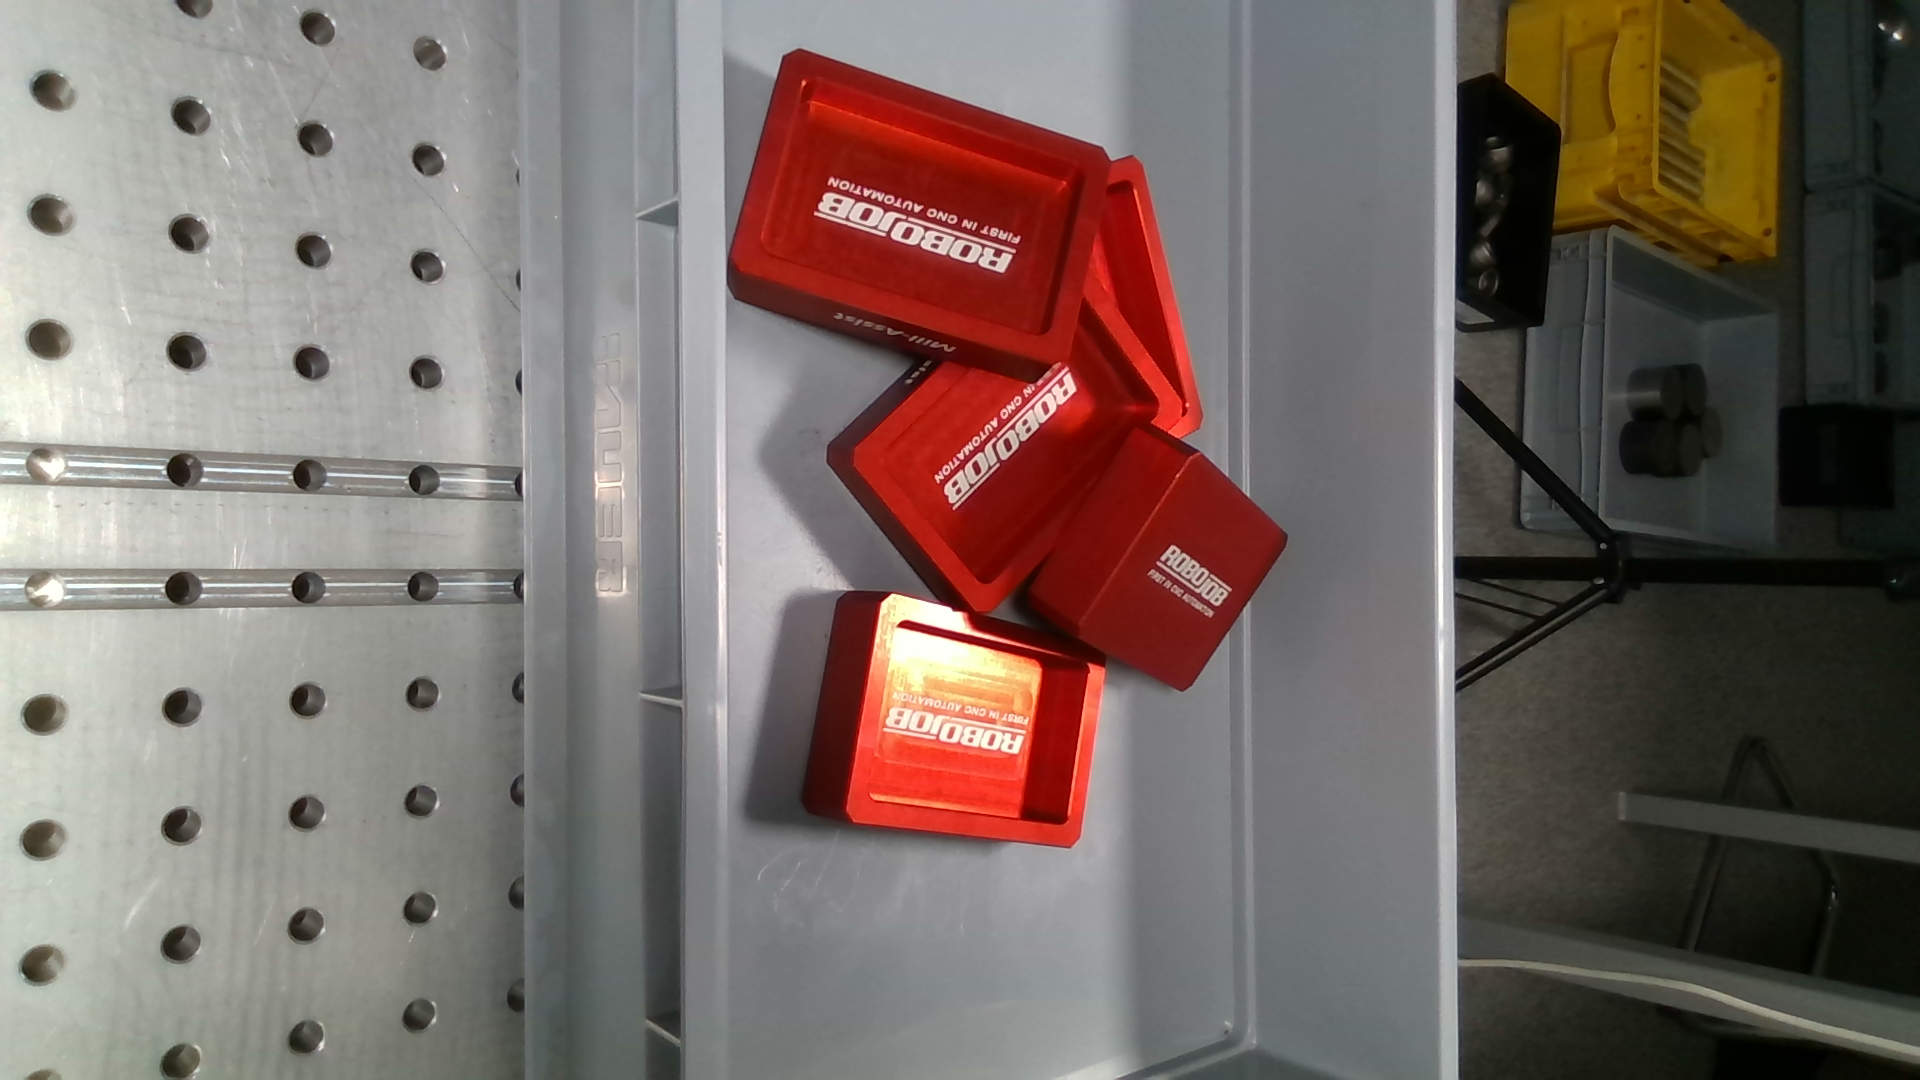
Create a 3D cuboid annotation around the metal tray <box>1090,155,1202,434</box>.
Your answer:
[{"bbox_3d":[0.058,-0.100,0.627,0.090,0.030,0.130,-26,107,-37],"label":"metal tray"}]

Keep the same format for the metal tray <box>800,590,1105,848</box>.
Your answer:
[{"bbox_3d":[0.001,0.077,0.579,0.130,0.030,0.090,16,80,-39],"label":"metal tray"}]

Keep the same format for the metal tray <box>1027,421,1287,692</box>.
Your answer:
[{"bbox_3d":[0.091,0.012,0.610,0.090,0.030,0.130,-57,146,2],"label":"metal tray"}]

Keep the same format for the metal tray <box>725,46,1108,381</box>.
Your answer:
[{"bbox_3d":[-0.016,-0.123,0.526,0.130,0.030,0.090,15,79,-10],"label":"metal tray"}]

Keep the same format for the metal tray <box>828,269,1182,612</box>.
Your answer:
[{"bbox_3d":[0.020,-0.046,0.567,0.130,0.030,0.090,-45,111,-14],"label":"metal tray"}]
